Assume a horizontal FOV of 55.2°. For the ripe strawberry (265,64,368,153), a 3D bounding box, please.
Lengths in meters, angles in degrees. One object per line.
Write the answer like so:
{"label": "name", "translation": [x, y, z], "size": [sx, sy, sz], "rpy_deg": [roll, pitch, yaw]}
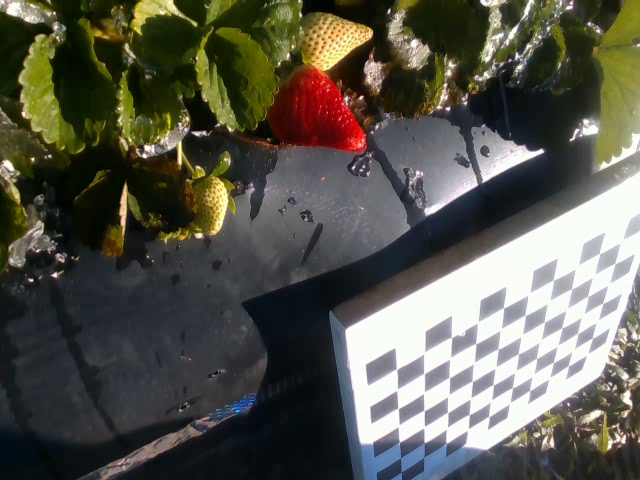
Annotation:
{"label": "ripe strawberry", "translation": [0.001, -0.056, 0.277], "size": [0.053, 0.040, 0.042], "rpy_deg": [38, 5, 16]}
